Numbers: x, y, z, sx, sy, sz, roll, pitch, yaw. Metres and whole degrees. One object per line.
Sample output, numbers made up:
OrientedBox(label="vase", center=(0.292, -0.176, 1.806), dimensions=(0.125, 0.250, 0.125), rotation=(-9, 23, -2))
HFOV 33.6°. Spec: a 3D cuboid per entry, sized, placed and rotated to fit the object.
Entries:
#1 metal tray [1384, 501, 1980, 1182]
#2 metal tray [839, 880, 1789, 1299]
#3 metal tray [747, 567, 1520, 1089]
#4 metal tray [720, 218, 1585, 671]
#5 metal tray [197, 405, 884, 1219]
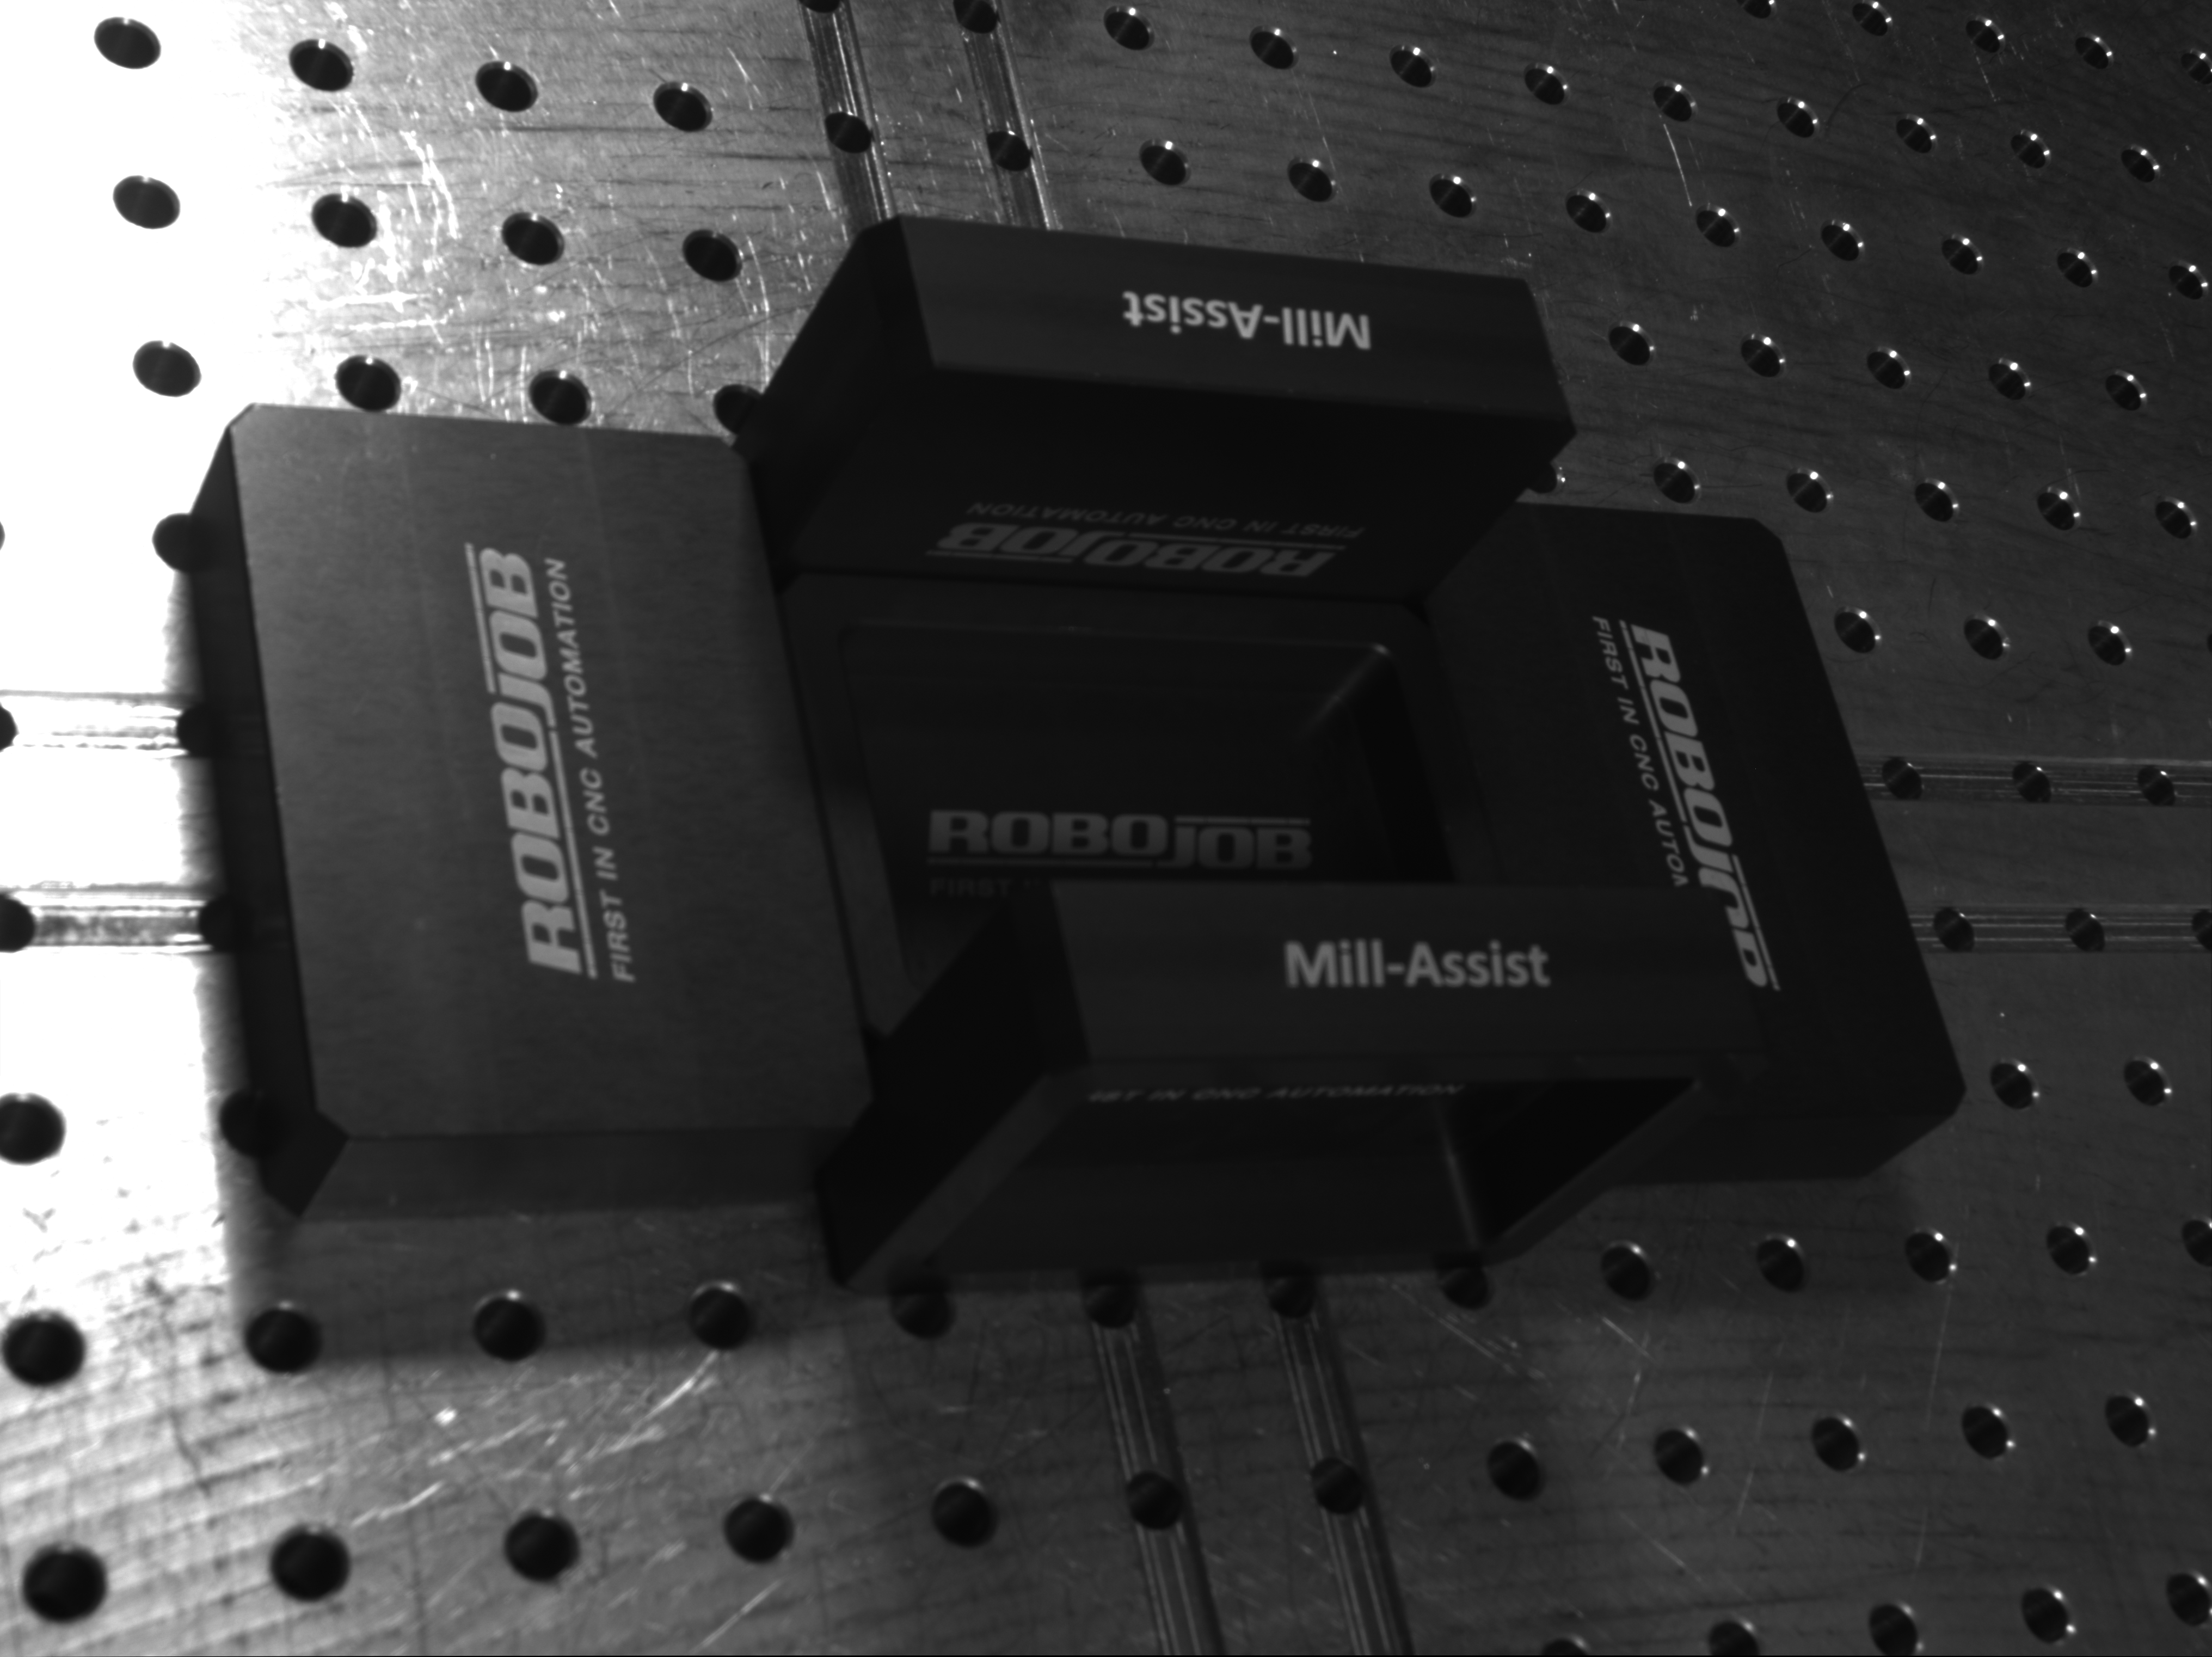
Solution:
OrientedBox(label="metal tray", center=(0.104, 0.001, 0.692), dimensions=(0.090, 0.030, 0.130), rotation=(2, 61, -28))
OrientedBox(label="metal tray", center=(0.032, 0.043, 0.590), dimensions=(0.130, 0.090, 0.030), rotation=(1, 61, -28))
OrientedBox(label="metal tray", center=(0.007, 0.003, 0.639), dimensions=(0.130, 0.030, 0.090), rotation=(1, 61, -28))
OrientedBox(label="metal tray", center=(0.006, -0.063, 0.643), dimensions=(0.130, 0.090, 0.030), rotation=(1, 61, -28))
OrientedBox(label="metal tray", center=(-0.093, -0.004, 0.592), dimensions=(0.090, 0.030, 0.130), rotation=(1, 61, -28))
